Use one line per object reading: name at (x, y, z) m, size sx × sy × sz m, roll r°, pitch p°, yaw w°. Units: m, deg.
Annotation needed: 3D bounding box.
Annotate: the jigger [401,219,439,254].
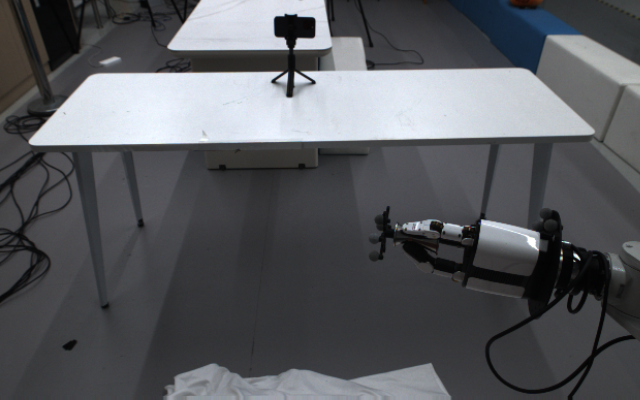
jigger at (0.157, 0.052, 0.749) m, size 0.071 × 0.043 × 0.043 m, roll 8°, pitch 35°, yaw 15°
